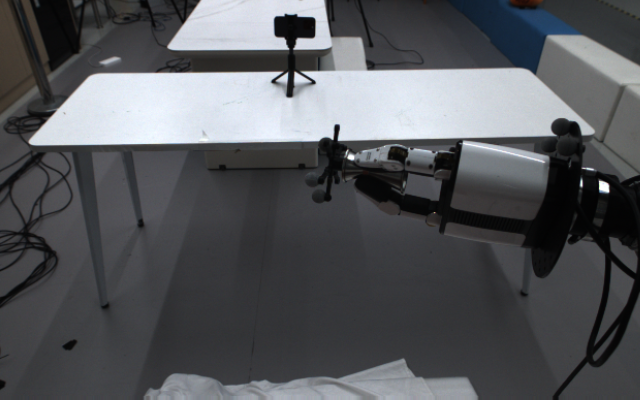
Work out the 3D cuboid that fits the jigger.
[{"bbox_3d":[0.066,-0.040,0.540,0.071,0.043,0.043,9,35,16],"label":"jigger"}]
